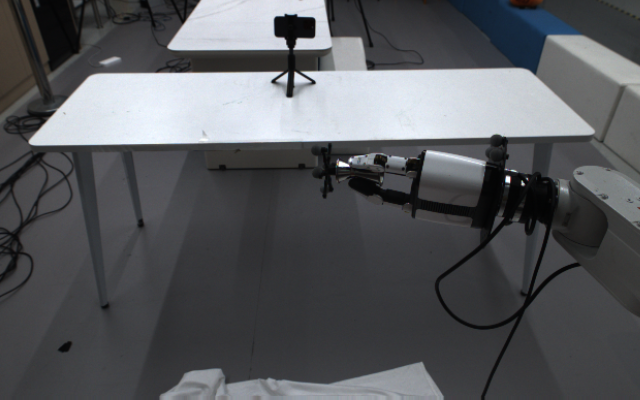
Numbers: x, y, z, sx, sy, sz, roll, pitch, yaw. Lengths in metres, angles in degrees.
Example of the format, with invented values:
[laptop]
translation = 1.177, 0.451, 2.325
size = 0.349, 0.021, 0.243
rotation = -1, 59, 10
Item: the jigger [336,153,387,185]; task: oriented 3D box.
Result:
[jigger]
translation = 0.068, -0.048, 0.736
size = 0.071, 0.043, 0.043
rotation = 2, 34, 14
